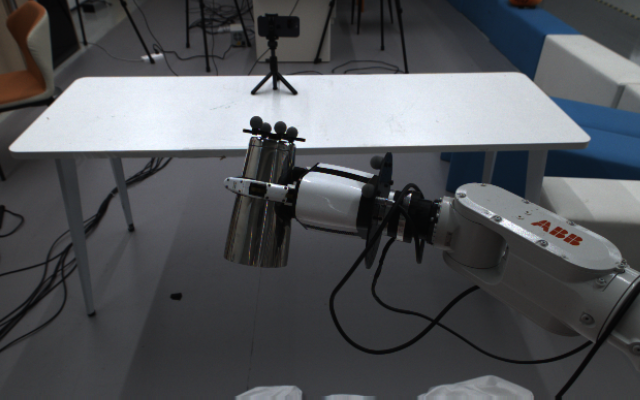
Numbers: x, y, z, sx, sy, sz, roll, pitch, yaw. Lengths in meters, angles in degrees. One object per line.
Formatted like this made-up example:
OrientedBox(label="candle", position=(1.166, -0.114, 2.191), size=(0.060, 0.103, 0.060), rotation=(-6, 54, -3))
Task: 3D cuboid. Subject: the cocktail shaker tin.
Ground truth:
OrientedBox(label="cocktail shaker tin", position=(-0.078, 0.001, 0.682), size=(0.093, 0.170, 0.093), rotation=(9, 3, 0))
